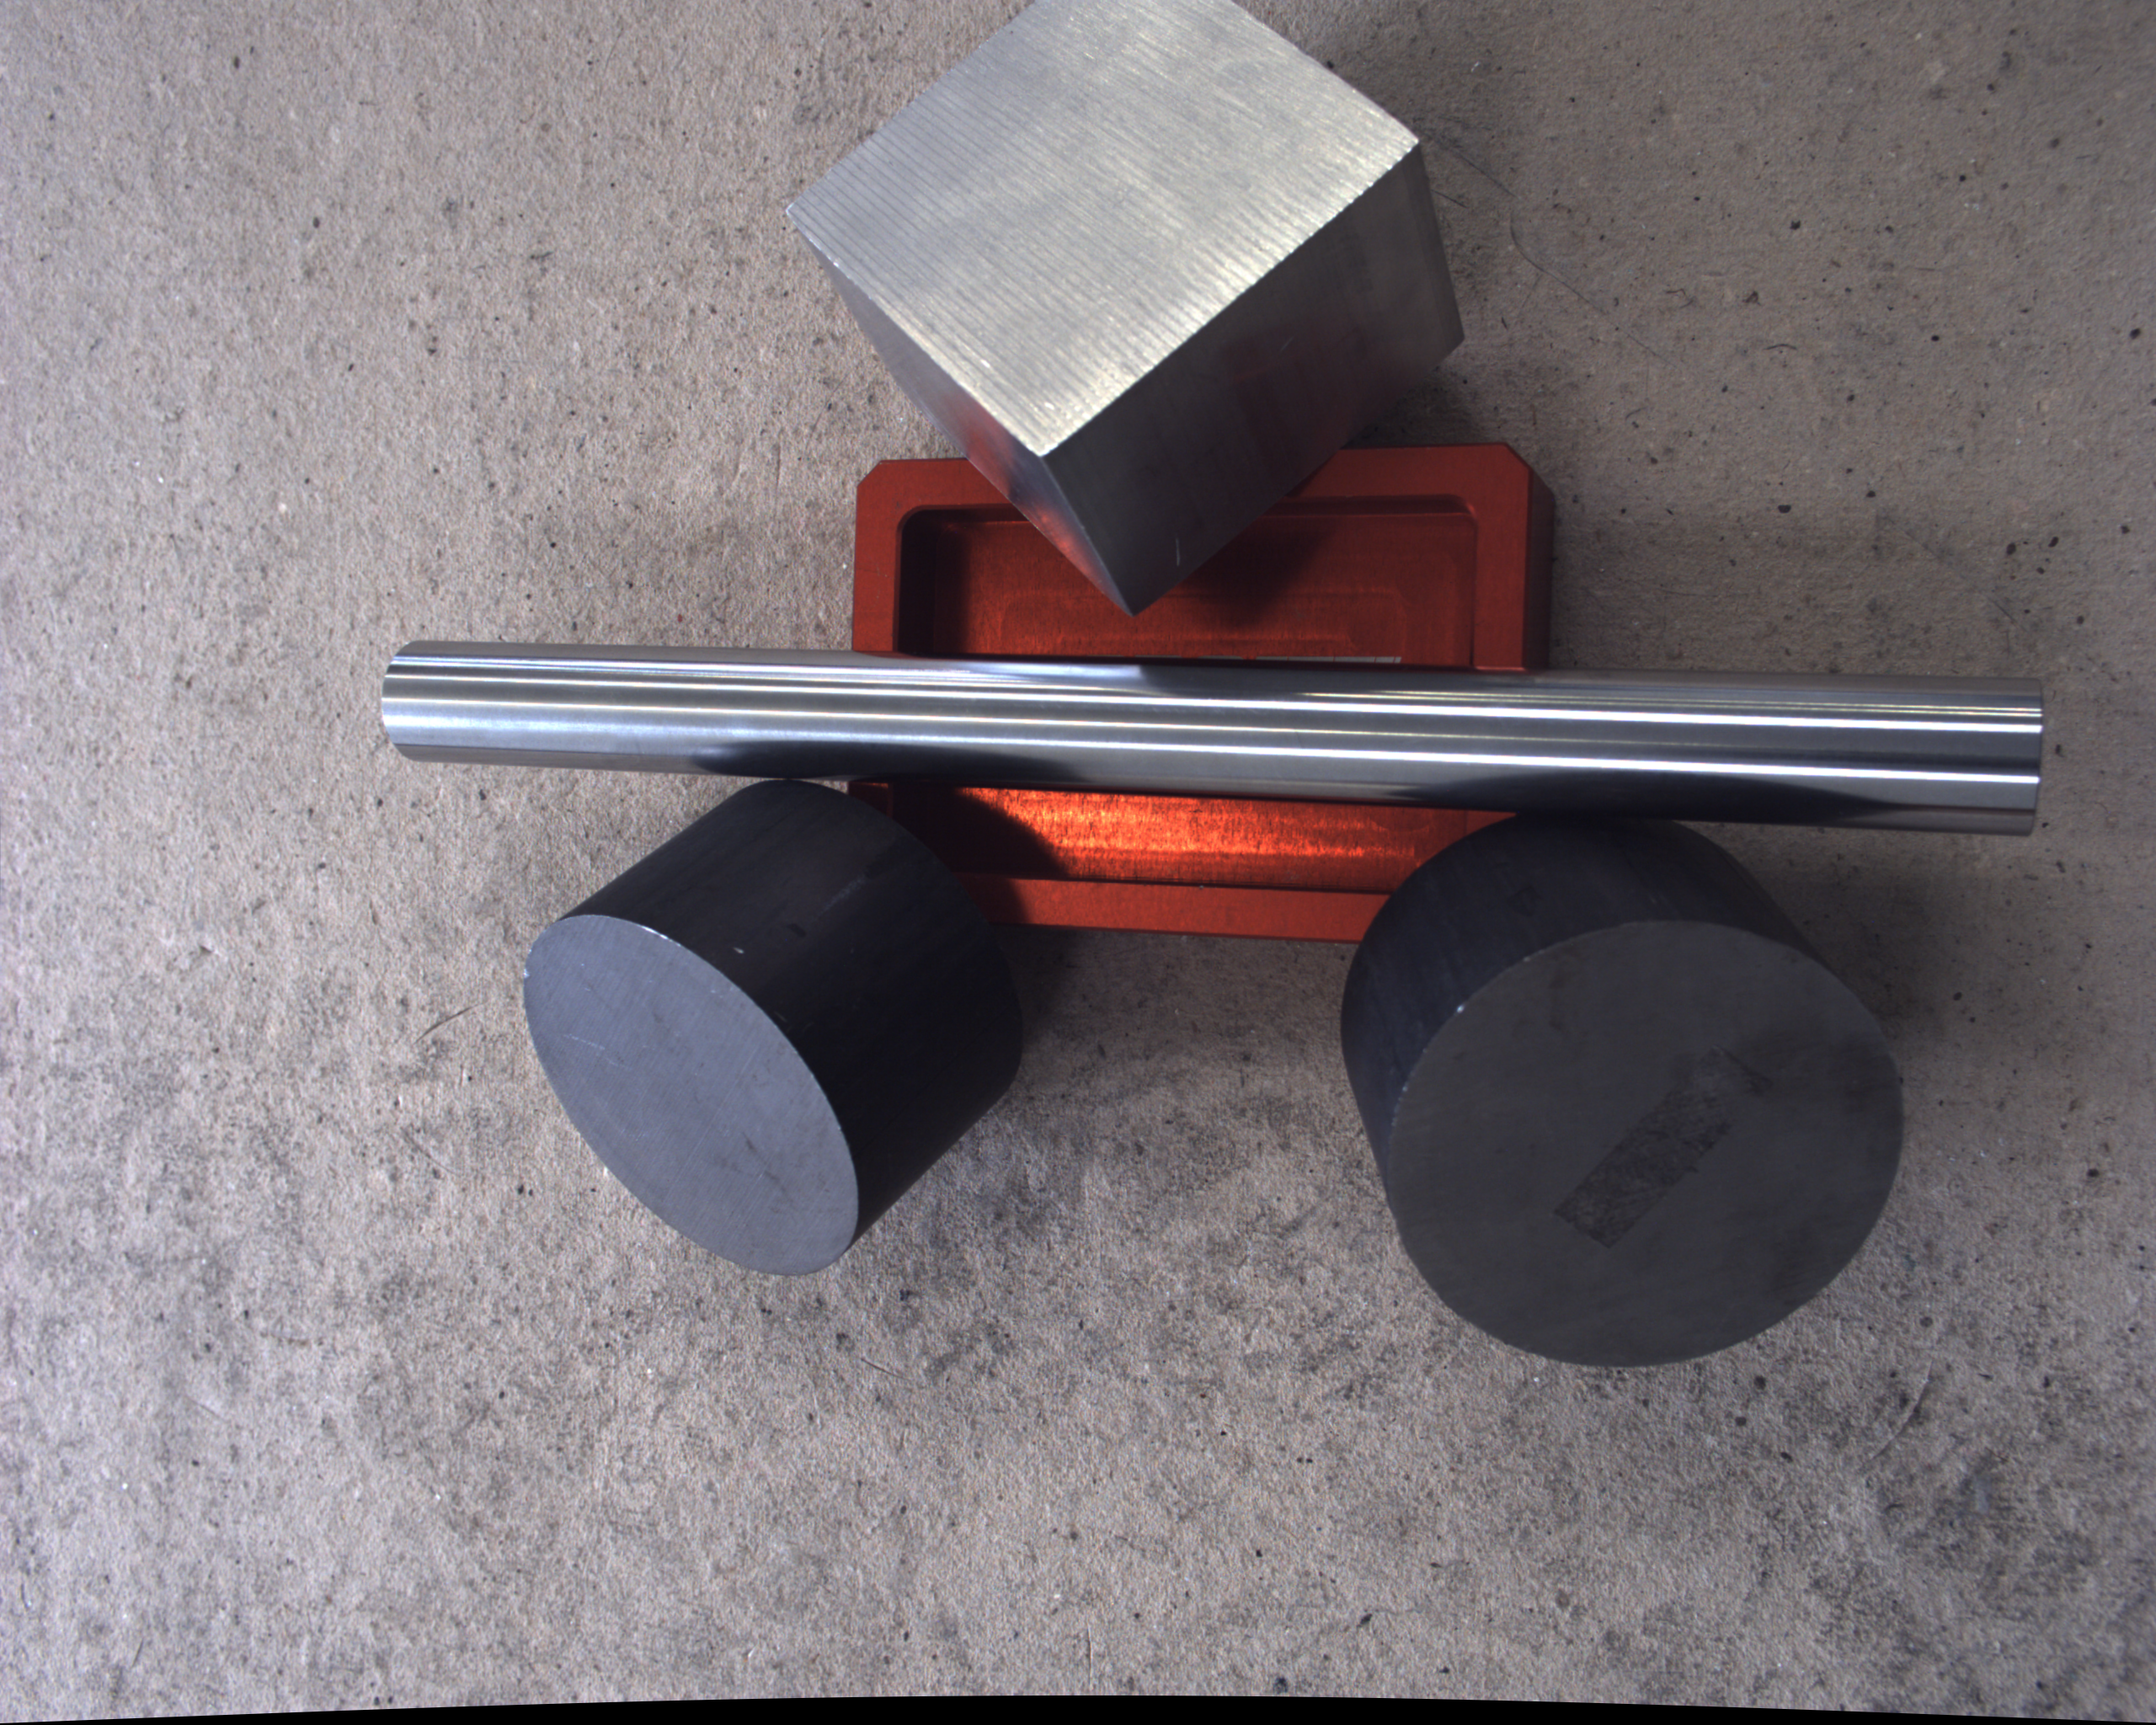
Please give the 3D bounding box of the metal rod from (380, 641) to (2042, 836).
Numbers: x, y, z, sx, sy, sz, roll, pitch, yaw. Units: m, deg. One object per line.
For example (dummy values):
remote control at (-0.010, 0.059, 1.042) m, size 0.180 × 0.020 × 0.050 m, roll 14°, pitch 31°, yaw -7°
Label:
metal rod at (0.008, -0.025, 0.376) m, size 0.301 × 0.025 × 0.025 m, roll 3°, pitch 91°, yaw 19°

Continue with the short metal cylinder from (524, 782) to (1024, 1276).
short metal cylinder at (-0.058, 0.031, 0.398) m, size 0.080 × 0.050 × 0.079 m, roll 22°, pitch 132°, yaw 26°

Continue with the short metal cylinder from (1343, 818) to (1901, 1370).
short metal cylinder at (0.088, 0.037, 0.348) m, size 0.081 × 0.050 × 0.079 m, roll 0°, pitch 111°, yaw -1°

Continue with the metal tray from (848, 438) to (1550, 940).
metal tray at (0.022, -0.032, 0.400) m, size 0.130 × 0.030 × 0.089 m, roll 2°, pitch 91°, yaw 19°

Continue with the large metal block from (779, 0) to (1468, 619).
large metal block at (0.009, -0.105, 0.371) m, size 0.080 × 0.050 × 0.080 m, roll -41°, pitch 60°, yaw -2°
